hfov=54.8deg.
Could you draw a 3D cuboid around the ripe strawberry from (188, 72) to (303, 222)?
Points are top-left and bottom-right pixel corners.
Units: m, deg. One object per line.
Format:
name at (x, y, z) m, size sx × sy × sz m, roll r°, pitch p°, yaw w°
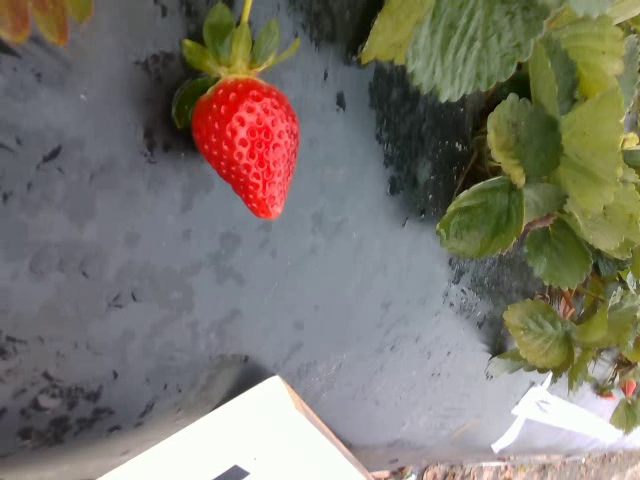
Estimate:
ripe strawberry at (-0.023, -0.032, 0.215) m, size 0.045 × 0.054 × 0.048 m, roll -2°, pitch -2°, yaw -32°
